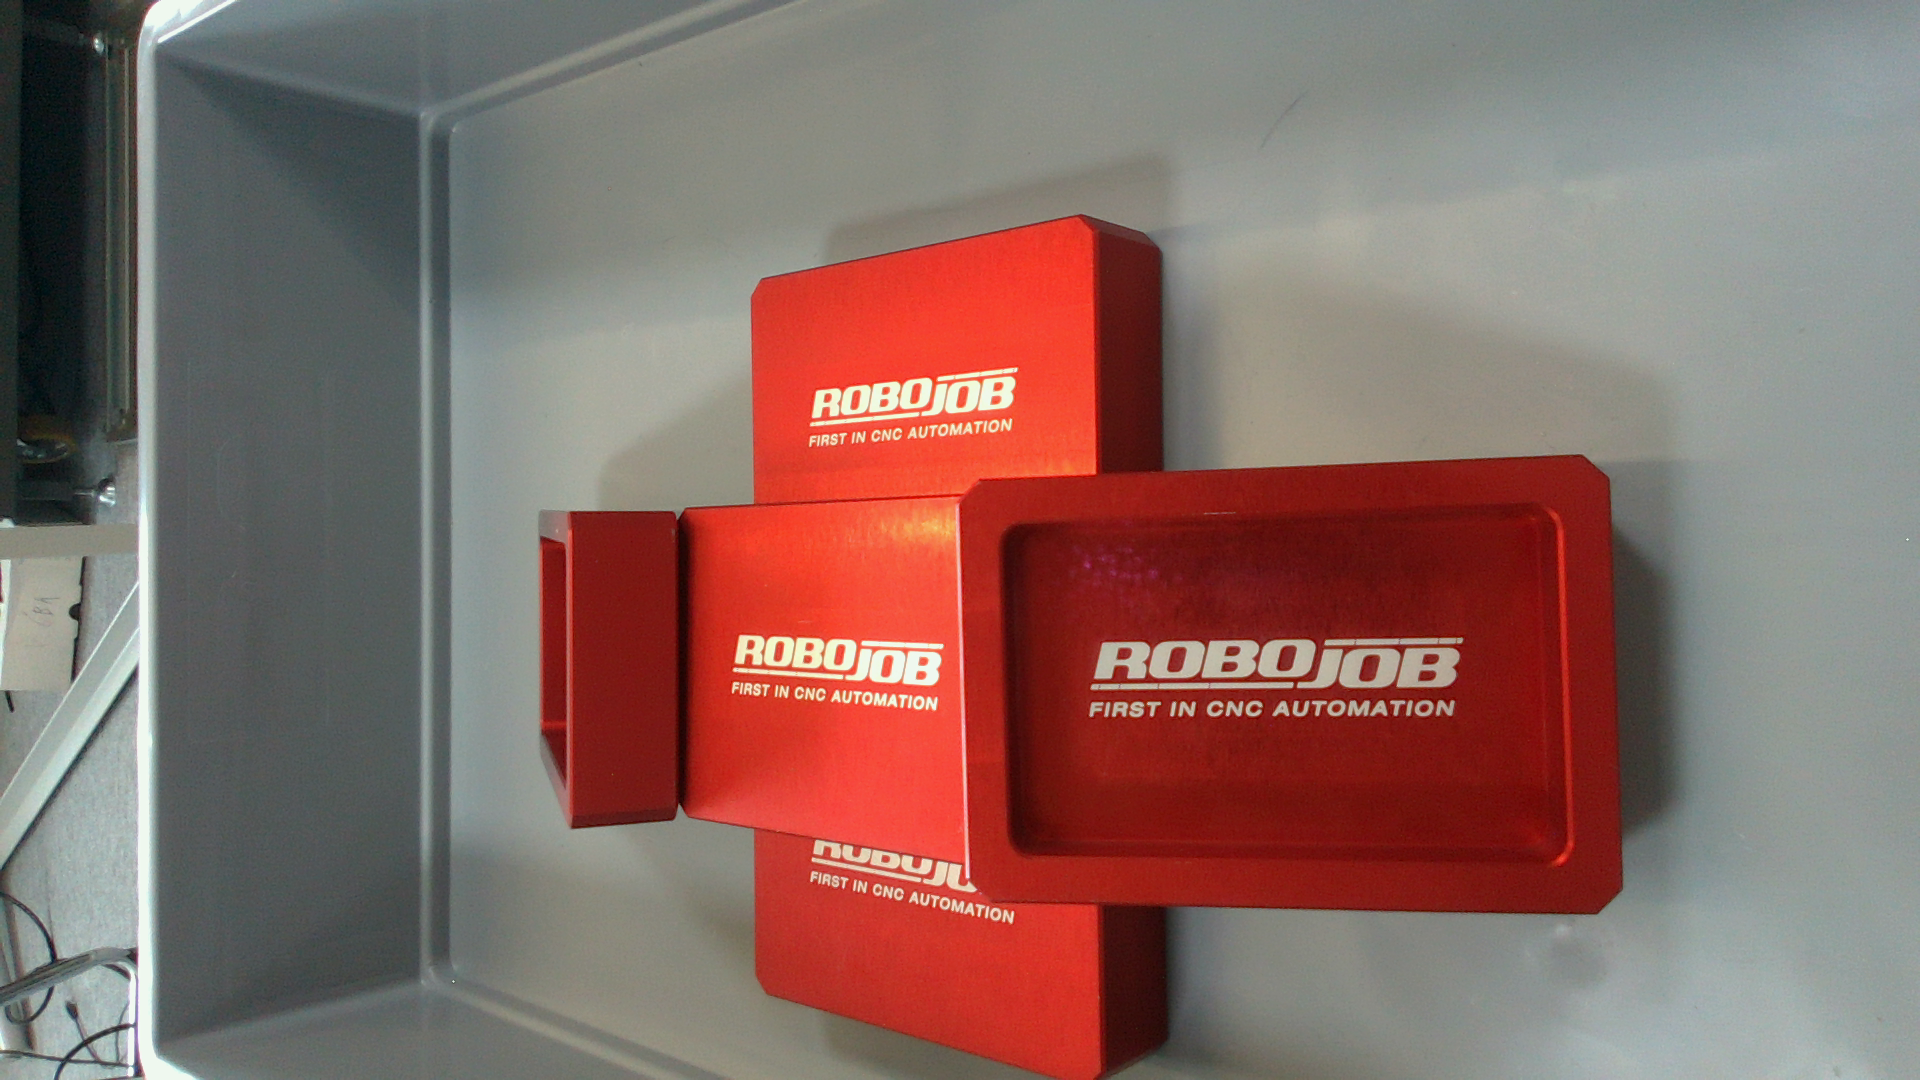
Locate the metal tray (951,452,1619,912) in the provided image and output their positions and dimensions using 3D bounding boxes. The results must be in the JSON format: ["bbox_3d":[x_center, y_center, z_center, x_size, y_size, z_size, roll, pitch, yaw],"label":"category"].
[{"bbox_3d":[0.066,0.030,0.294,0.130,0.030,0.090,-2,89,11],"label":"metal tray"}]

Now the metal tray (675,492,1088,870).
[{"bbox_3d":[-0.025,0.034,0.371,0.129,0.030,0.090,-2,89,40],"label":"metal tray"}]

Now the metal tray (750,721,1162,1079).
[{"bbox_3d":[-0.006,0.093,0.394,0.129,0.030,0.090,-1,89,40],"label":"metal tray"}]

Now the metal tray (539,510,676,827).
[{"bbox_3d":[-0.118,0.035,0.450,0.130,0.030,0.090,-176,86,-70],"label":"metal tray"}]

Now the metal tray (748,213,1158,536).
[{"bbox_3d":[-0.006,-0.036,0.394,0.129,0.030,0.090,-1,89,40],"label":"metal tray"}]
